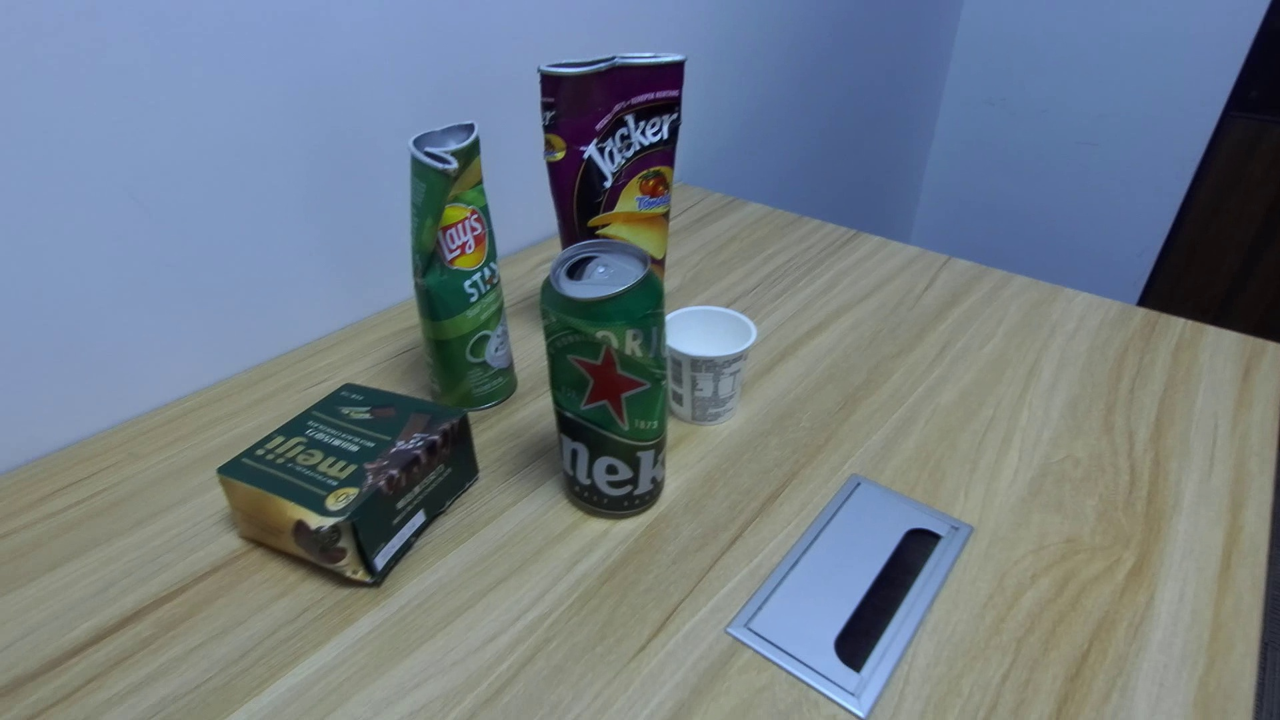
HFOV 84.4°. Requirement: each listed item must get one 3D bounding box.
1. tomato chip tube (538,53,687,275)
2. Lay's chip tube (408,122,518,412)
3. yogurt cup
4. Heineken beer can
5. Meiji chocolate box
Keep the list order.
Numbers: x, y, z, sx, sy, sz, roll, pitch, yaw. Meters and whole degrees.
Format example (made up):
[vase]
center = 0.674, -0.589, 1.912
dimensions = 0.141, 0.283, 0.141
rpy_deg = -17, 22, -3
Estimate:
[tomato chip tube]
center = -0.021, -0.118, 0.570
dimensions = 0.090, 0.236, 0.078
rpy_deg = 11, 35, 15
[Lay's chip tube]
center = -0.132, -0.062, 0.515
dimensions = 0.069, 0.201, 0.077
rpy_deg = -14, 38, -20
[yogurt cup]
center = 0.048, 0.006, 0.527
dimensions = 0.072, 0.068, 0.072
rpy_deg = 0, 34, 1
[Heineken beer can]
center = -0.019, 0.018, 0.425
dimensions = 0.069, 0.168, 0.068
rpy_deg = -8, 35, -8
[Meiji chocolate box]
center = -0.180, 0.072, 0.444
dimensions = 0.115, 0.058, 0.123
rpy_deg = 12, 33, 21
